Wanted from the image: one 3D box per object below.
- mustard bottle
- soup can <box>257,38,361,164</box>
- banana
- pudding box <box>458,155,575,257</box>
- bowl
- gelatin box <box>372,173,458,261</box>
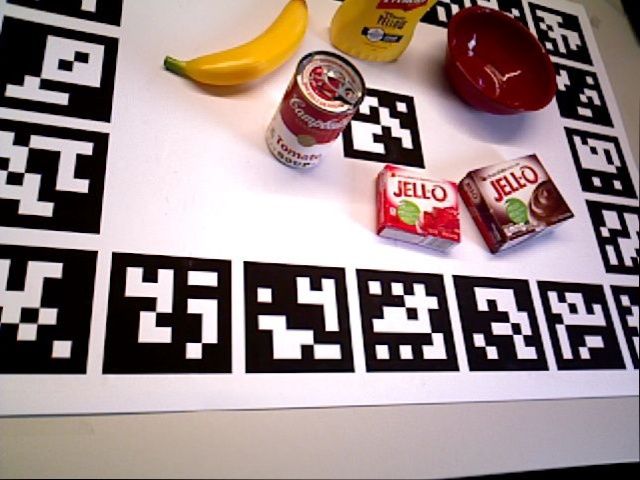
[{"bbox_3d":[0.088,-0.278,0.565,0.095,0.196,0.058,5,62,-21],"label":"mustard bottle"},{"bbox_3d":[-0.014,-0.127,0.511,0.067,0.104,0.067,10,61,-20],"label":"soup can"},{"bbox_3d":[-0.076,-0.216,0.574,0.074,0.040,0.193,37,58,9],"label":"banana"},{"bbox_3d":[0.223,-0.040,0.618,0.111,0.039,0.090,-20,82,-28],"label":"pudding box"},{"bbox_3d":[0.216,-0.214,0.687,0.160,0.056,0.160,8,64,-17],"label":"bowl"},{"bbox_3d":[0.098,-0.024,0.565,0.088,0.031,0.072,11,67,-17],"label":"gelatin box"}]
